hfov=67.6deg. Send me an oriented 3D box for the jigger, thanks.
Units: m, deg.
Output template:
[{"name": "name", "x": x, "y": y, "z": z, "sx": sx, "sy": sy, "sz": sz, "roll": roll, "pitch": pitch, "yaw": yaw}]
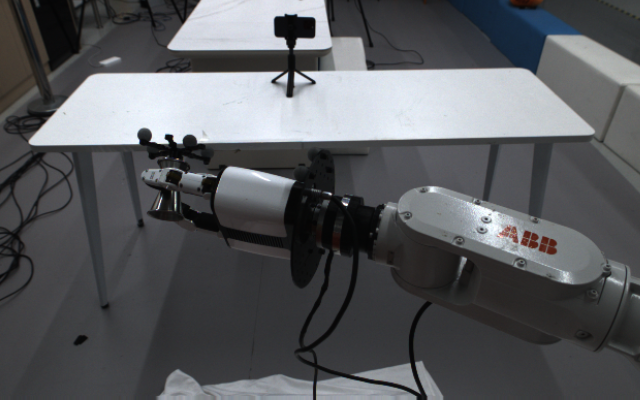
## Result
[{"name": "jigger", "x": -0.184, "y": -0.013, "z": 0.590, "sx": 0.043, "sy": 0.043, "sz": 0.071, "roll": 3, "pitch": 72, "yaw": 1}]
